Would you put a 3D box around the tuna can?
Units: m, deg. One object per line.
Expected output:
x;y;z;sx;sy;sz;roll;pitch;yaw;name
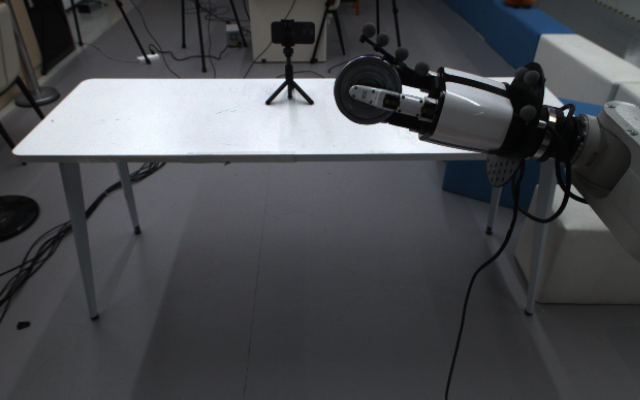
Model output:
0.064;-0.133;0.609;0.085;0.085;0.034;7;19;6;tuna can
